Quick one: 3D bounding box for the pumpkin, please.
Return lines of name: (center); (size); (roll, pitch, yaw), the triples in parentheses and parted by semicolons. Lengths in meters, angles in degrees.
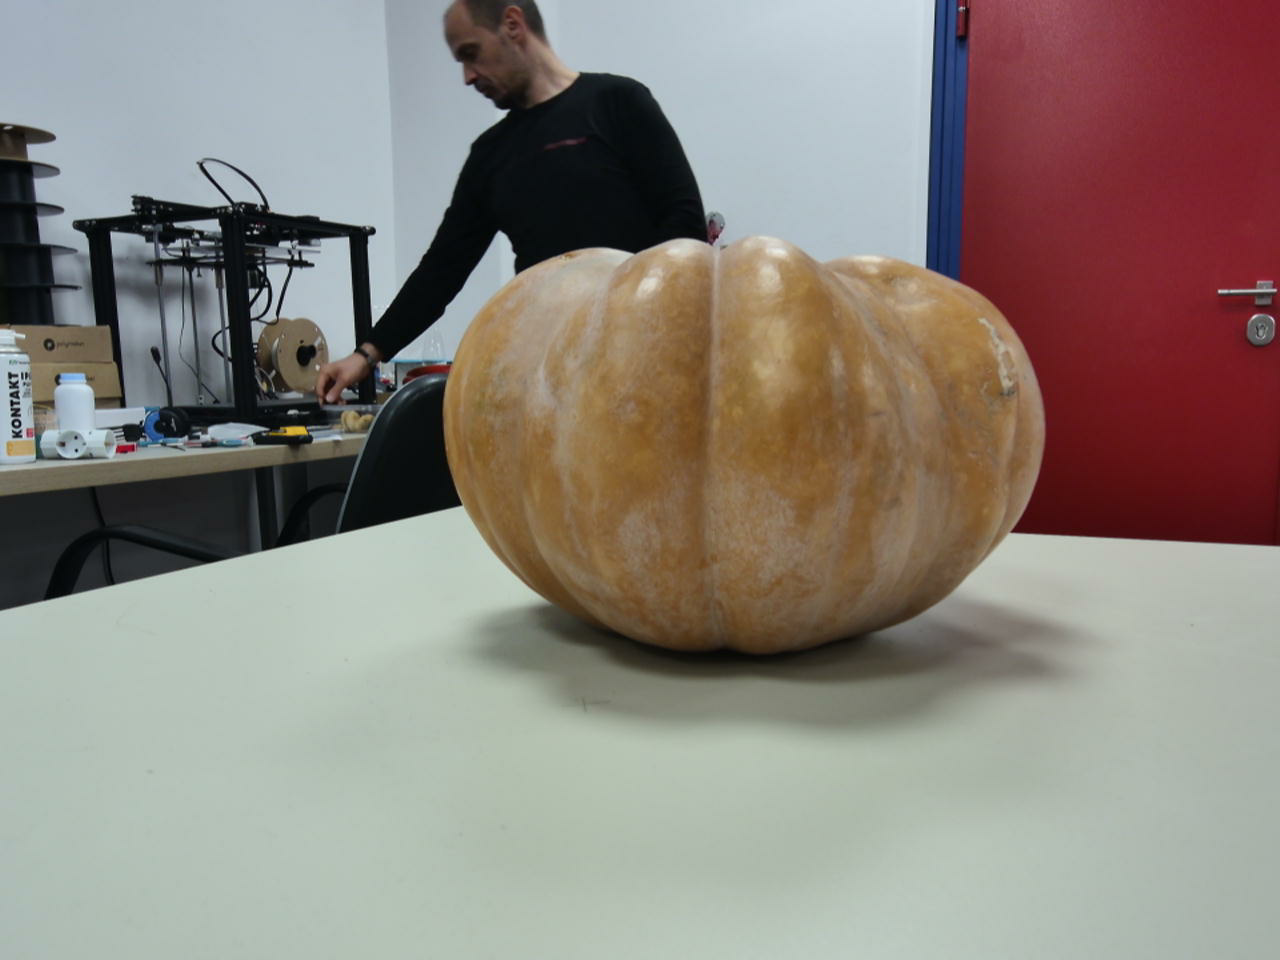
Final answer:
pumpkin: (0.041, -0.020, 0.469); (0.277, 0.181, 0.277); (0, 4, 0)
